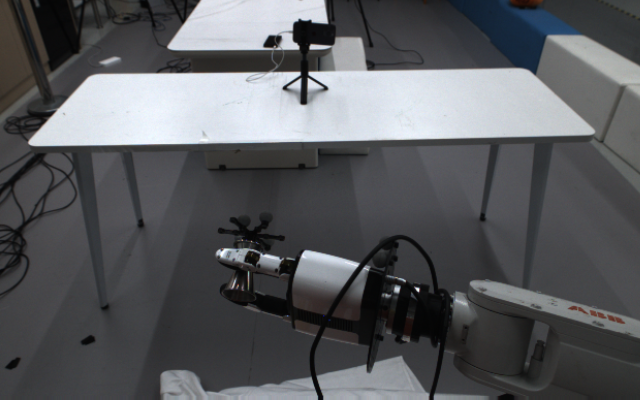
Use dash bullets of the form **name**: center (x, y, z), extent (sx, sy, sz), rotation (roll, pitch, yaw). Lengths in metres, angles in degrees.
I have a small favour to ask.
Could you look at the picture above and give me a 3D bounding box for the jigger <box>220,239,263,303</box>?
- **jigger**: center (-0.097, 0.090, 0.616), extent (0.043, 0.043, 0.071), rotation (5, 61, 4)
